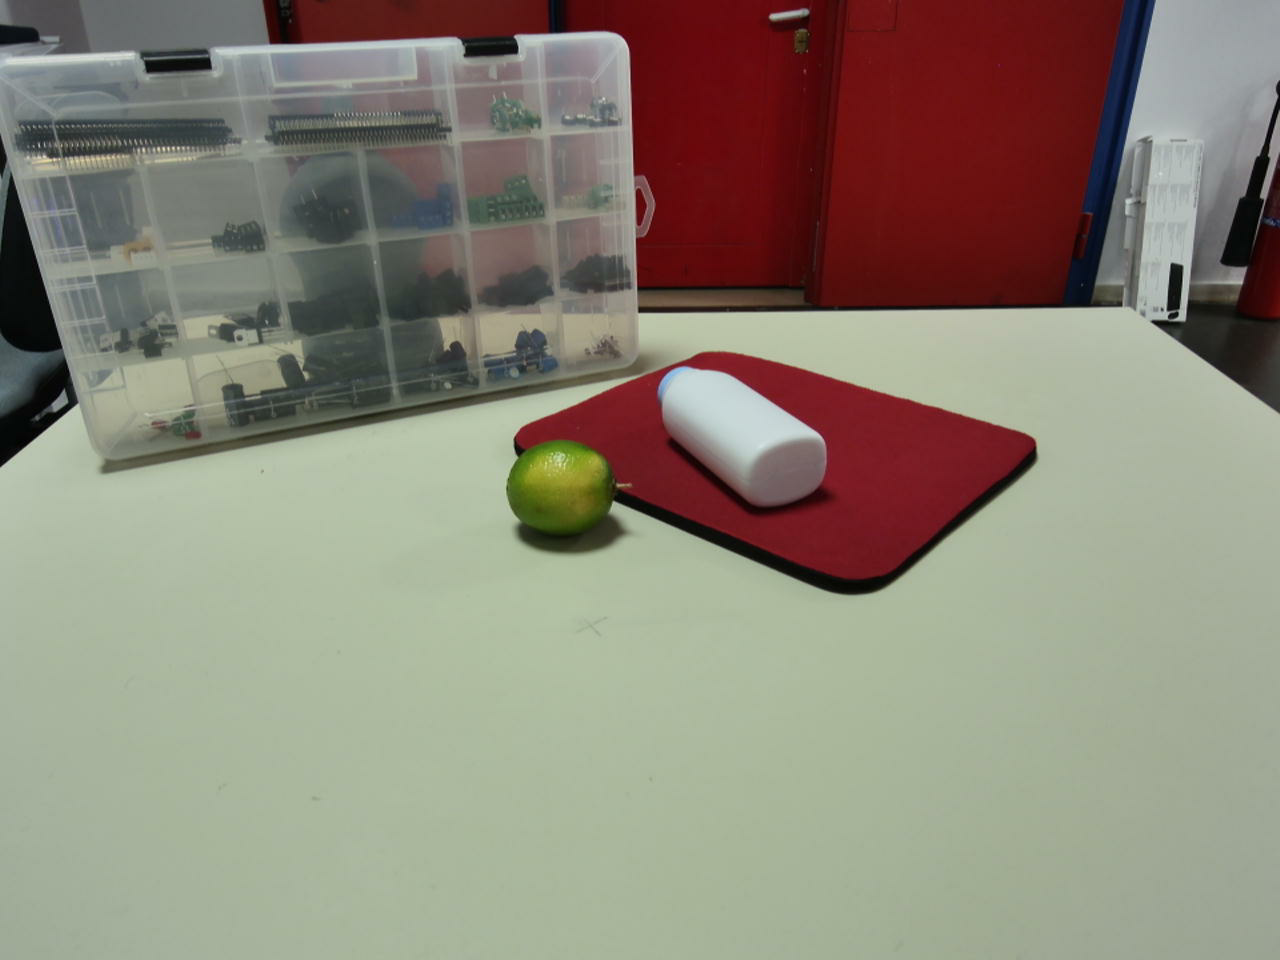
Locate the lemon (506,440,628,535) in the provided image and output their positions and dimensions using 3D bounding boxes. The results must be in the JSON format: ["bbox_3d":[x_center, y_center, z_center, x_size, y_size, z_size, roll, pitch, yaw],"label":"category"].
[{"bbox_3d":[-0.042,0.004,0.531,0.054,0.050,0.055,-22,32,-36],"label":"lemon"}]
